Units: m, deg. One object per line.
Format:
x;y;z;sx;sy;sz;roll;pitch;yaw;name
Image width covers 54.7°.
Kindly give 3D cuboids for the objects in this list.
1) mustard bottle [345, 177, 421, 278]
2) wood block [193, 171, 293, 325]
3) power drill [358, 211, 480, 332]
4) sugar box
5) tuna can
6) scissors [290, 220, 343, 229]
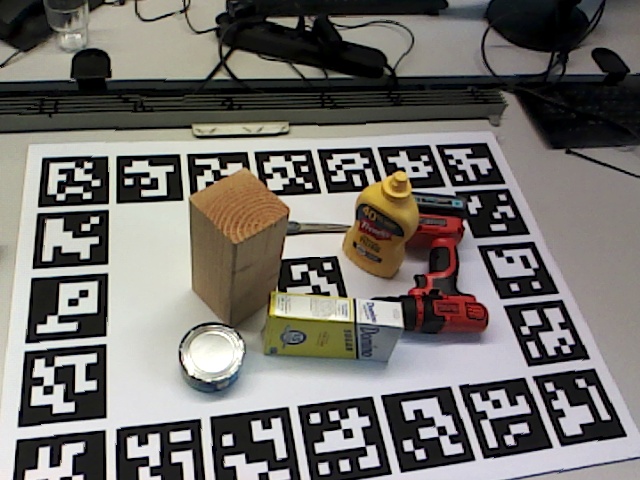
0.097;-0.025;0.900;0.096;0.191;0.058;37;58;15;mustard bottle
-0.108;0.018;0.827;0.090;0.206;0.090;-31;66;-27;wood block
0.144;0.047;0.929;0.184;0.057;0.187;7;61;-5;power drill
0.024;0.119;0.837;0.176;0.093;0.045;7;51;-7;sugar box
-0.139;0.151;0.817;0.085;0.034;0.086;5;55;-7;tuna can
-0.061;-0.020;0.968;0.202;0.016;0.088;-3;51;-11;scissors
